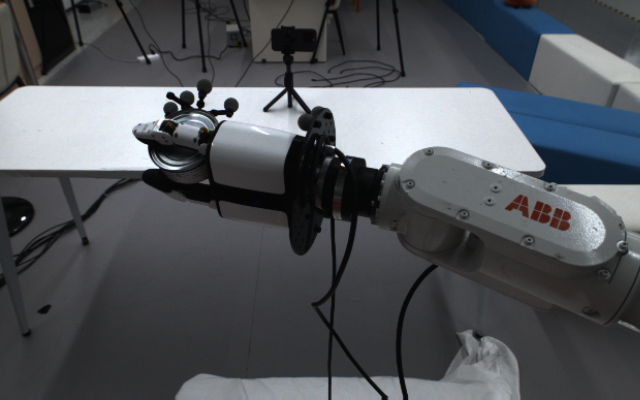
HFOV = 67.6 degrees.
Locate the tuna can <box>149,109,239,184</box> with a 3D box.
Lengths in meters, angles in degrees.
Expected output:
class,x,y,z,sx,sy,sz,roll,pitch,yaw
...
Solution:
class,x,y,z,sx,sy,sz,roll,pitch,yaw
tuna can,-0.150,-0.062,0.559,0.085,0.034,0.085,-6,58,10
